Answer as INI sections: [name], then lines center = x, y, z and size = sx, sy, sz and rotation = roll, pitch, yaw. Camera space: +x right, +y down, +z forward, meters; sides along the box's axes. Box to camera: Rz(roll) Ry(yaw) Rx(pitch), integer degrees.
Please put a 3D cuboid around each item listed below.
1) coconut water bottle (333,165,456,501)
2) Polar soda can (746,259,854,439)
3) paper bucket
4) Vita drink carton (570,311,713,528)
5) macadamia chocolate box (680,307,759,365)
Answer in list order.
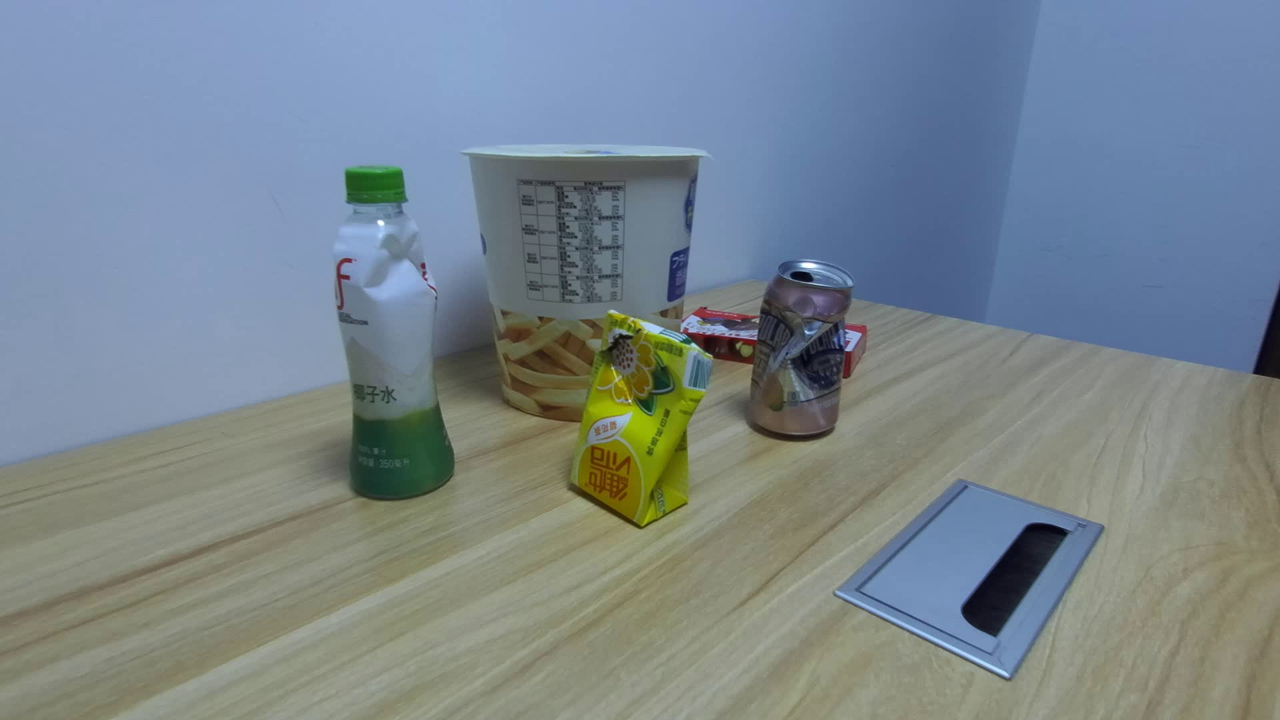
[coconut water bottle]
center = -0.148, -0.016, 0.416
size = 0.069, 0.186, 0.069
rotation = 1, 19, 0
[Polar soda can]
center = 0.119, -0.004, 0.510
size = 0.066, 0.121, 0.071
rotation = 5, 20, -3
[paper bucket]
center = -0.041, -0.067, 0.568
size = 0.198, 0.194, 0.198
rotation = 0, 19, 0
[Vita drink carton]
center = 0.002, 0.032, 0.414
size = 0.086, 0.108, 0.042
rotation = 23, 14, 41
[macadamia chocolate box]
center = 0.125, -0.022, 0.699
size = 0.182, 0.028, 0.106
rotation = 9, 21, 22
